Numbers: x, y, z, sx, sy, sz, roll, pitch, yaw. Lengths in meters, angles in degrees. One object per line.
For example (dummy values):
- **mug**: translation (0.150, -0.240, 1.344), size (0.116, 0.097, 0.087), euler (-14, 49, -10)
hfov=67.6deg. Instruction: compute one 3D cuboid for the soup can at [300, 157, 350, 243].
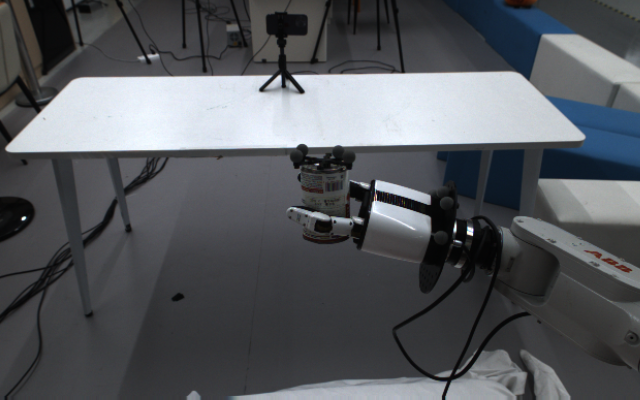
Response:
- **soup can**: translation (0.009, 0.001, 0.660), size (0.067, 0.101, 0.067), euler (-2, 17, 0)
